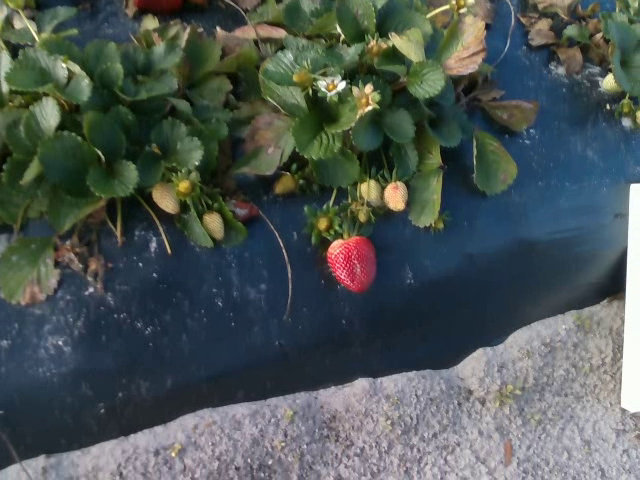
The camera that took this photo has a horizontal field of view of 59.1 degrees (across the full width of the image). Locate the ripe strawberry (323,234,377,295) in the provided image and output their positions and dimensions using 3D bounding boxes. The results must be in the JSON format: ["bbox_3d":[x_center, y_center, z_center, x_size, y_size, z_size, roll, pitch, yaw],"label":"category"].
[{"bbox_3d":[0.035,0.028,0.597,0.052,0.068,0.044,-9,-32,-14],"label":"ripe strawberry"}]
